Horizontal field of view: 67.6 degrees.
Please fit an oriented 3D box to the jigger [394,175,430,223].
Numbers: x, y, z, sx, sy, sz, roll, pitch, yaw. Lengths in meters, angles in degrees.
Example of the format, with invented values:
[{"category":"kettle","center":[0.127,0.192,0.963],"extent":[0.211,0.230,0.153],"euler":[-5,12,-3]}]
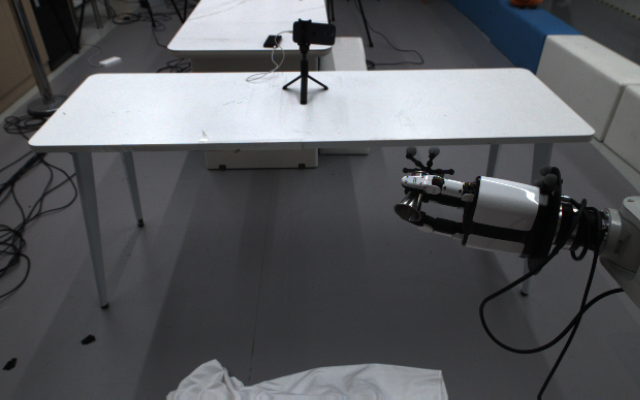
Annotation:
[{"category":"jigger","center":[0.145,-0.011,0.739],"extent":[0.043,0.043,0.071],"euler":[19,61,23]}]
